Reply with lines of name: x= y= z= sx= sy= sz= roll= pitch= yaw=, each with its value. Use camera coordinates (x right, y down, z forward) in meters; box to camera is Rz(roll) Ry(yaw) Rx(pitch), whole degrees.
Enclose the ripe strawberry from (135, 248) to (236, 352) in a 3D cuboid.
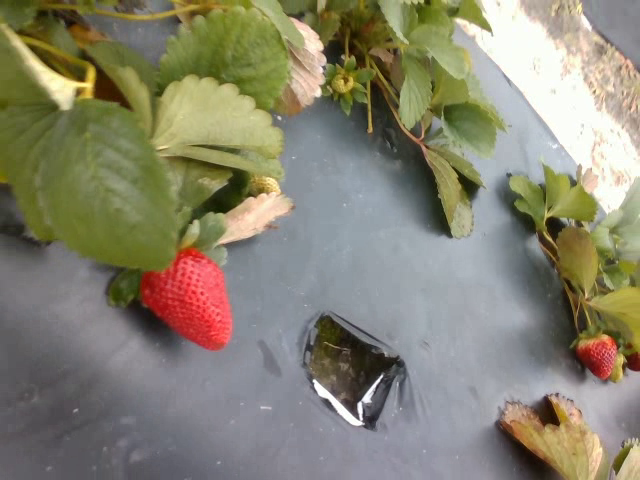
ripe strawberry: x=-0.069 y=0.034 z=0.310 sx=0.046 sy=0.064 sz=0.048 roll=-36 pitch=-19 yaw=13
